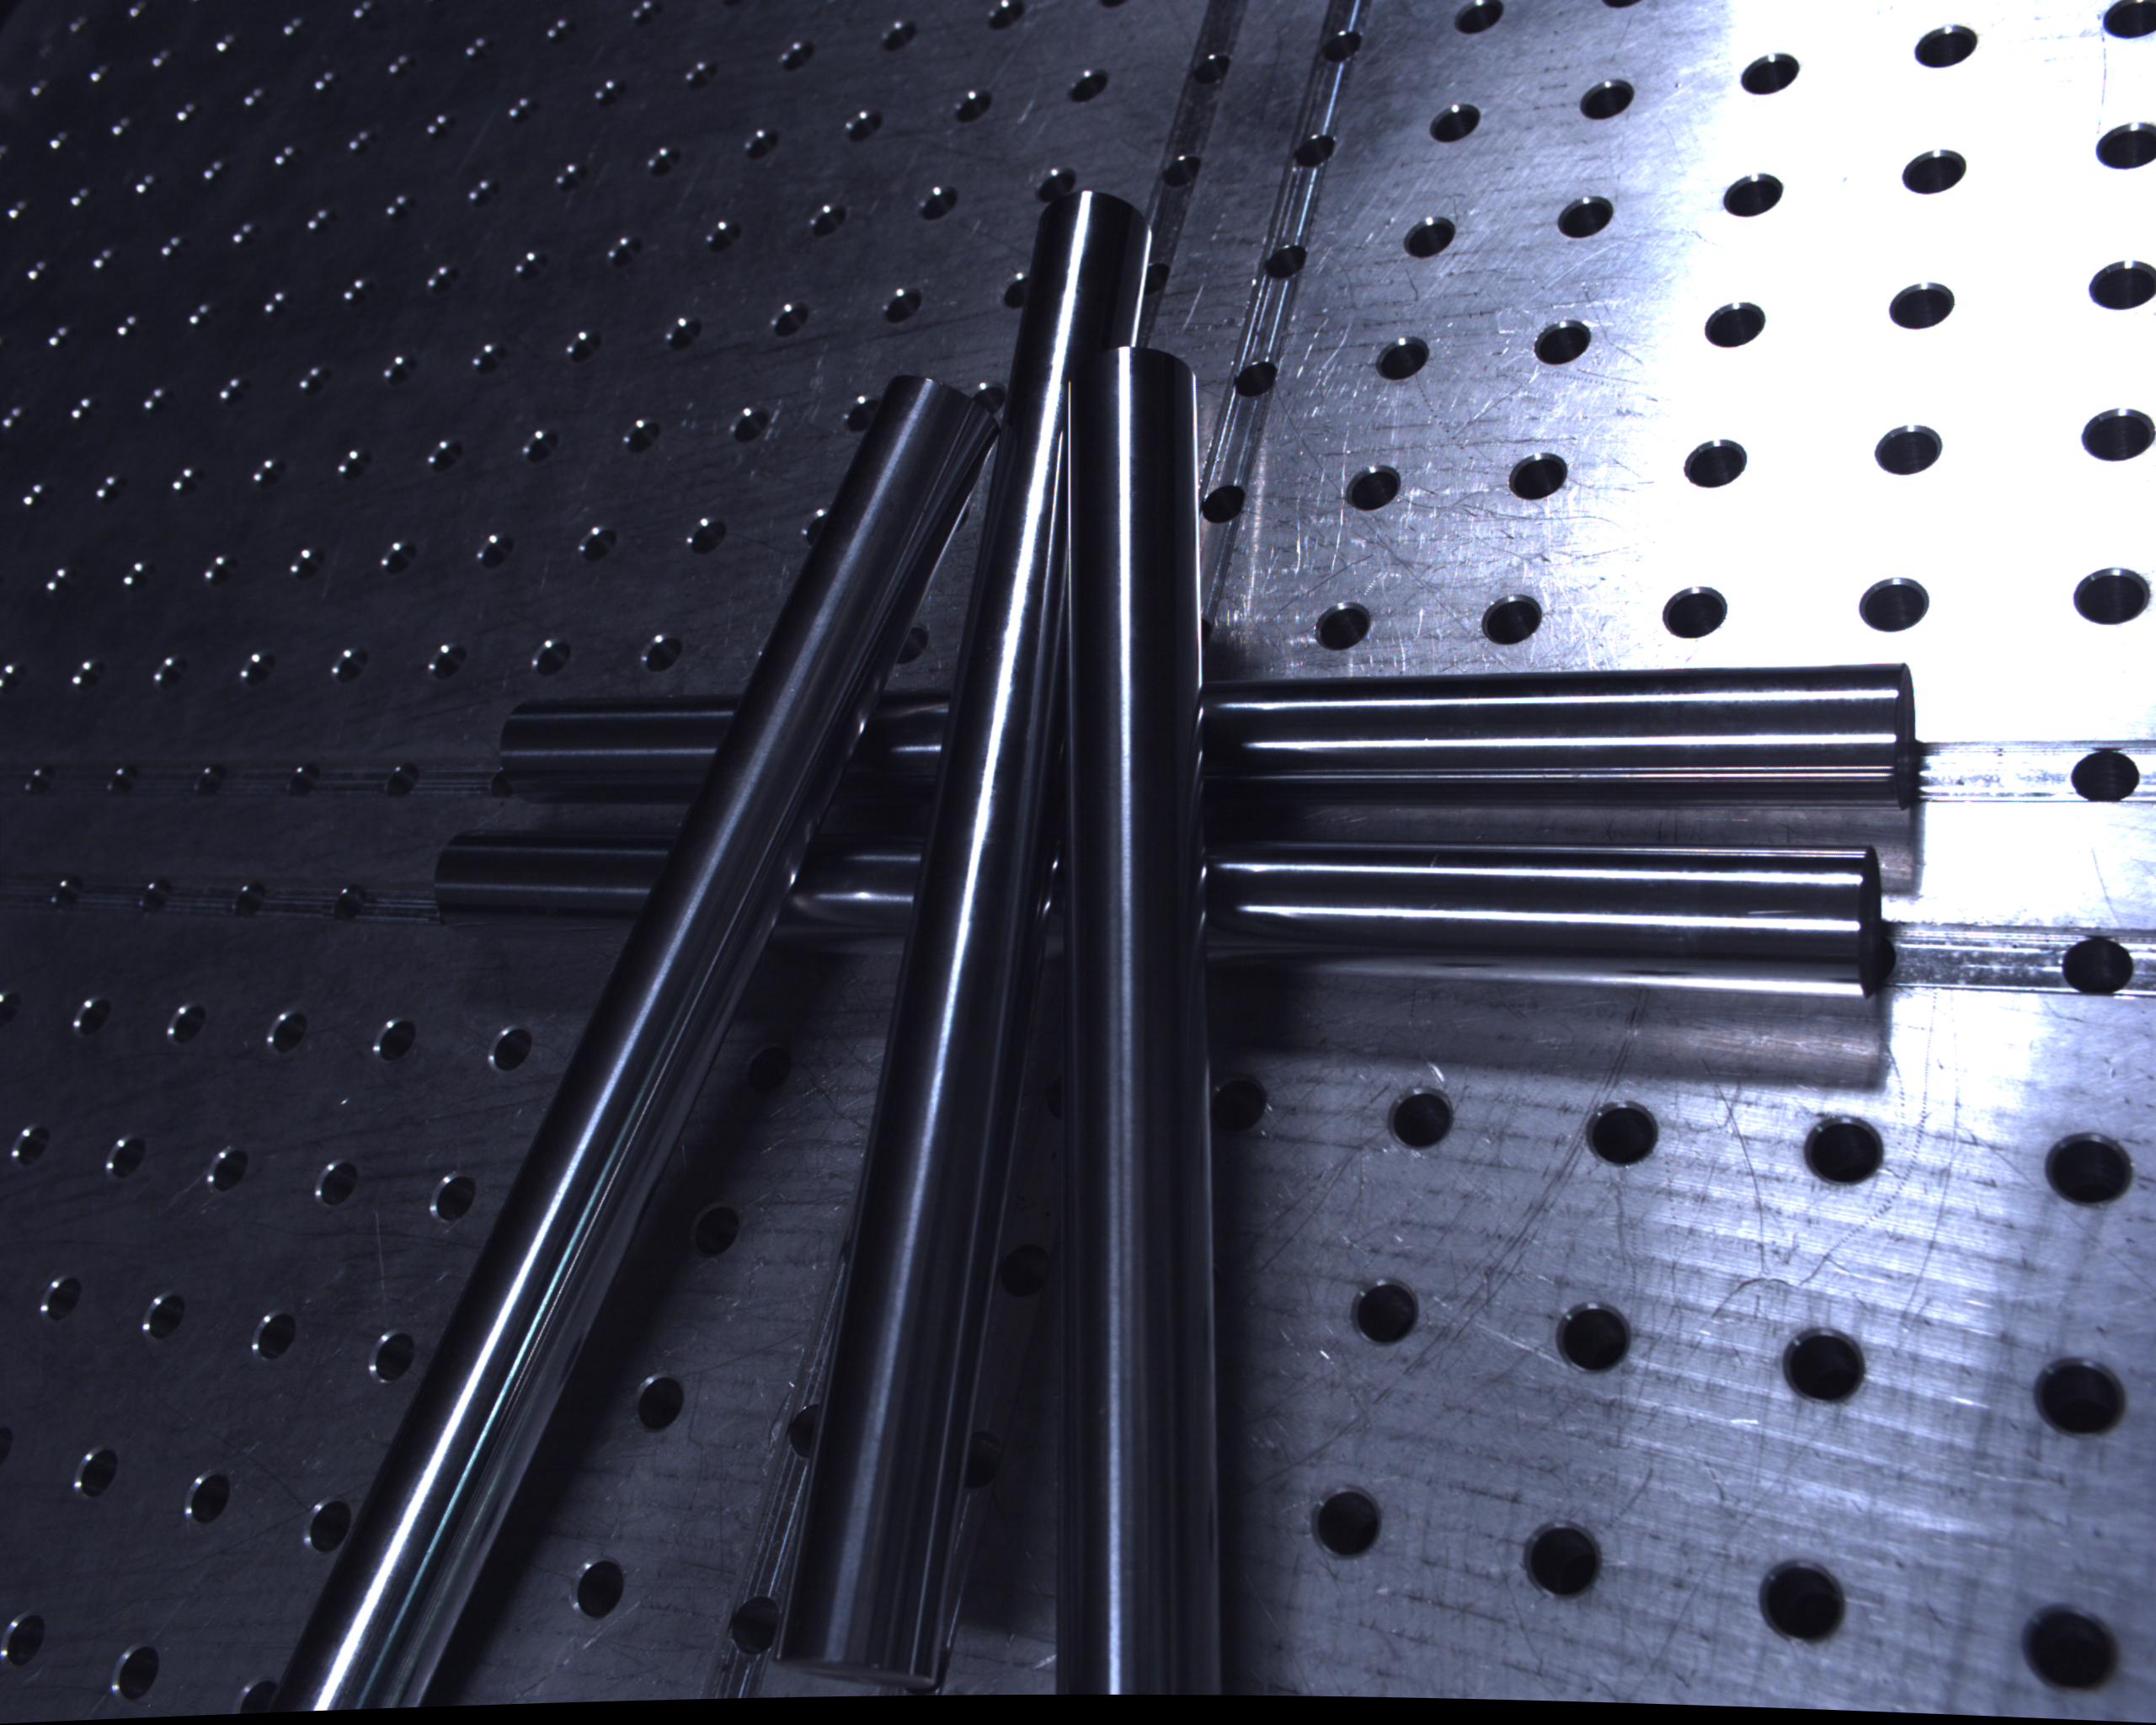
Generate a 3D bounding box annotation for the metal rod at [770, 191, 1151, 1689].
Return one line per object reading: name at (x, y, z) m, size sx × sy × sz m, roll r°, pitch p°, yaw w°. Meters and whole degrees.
metal rod at (-0.015, -0.007, 0.388) m, size 0.025 × 0.025 × 0.299 m, roll -6°, pitch 59°, yaw 25°

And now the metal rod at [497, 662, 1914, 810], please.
metal rod at (0.005, -0.023, 0.419) m, size 0.300 × 0.025 × 0.025 m, roll 1°, pitch 62°, yaw 28°

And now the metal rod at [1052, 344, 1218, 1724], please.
metal rod at (0.009, 0.043, 0.352) m, size 0.025 × 0.025 × 0.299 m, roll -10°, pitch 64°, yaw 22°

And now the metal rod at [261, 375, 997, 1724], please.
metal rod at (-0.085, 0.041, 0.402) m, size 0.025 × 0.025 × 0.299 m, roll 15°, pitch 76°, yaw 34°

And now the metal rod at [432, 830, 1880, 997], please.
metal rod at (-0.005, 0.007, 0.406) m, size 0.300 × 0.025 × 0.025 m, roll 1°, pitch 62°, yaw 28°
